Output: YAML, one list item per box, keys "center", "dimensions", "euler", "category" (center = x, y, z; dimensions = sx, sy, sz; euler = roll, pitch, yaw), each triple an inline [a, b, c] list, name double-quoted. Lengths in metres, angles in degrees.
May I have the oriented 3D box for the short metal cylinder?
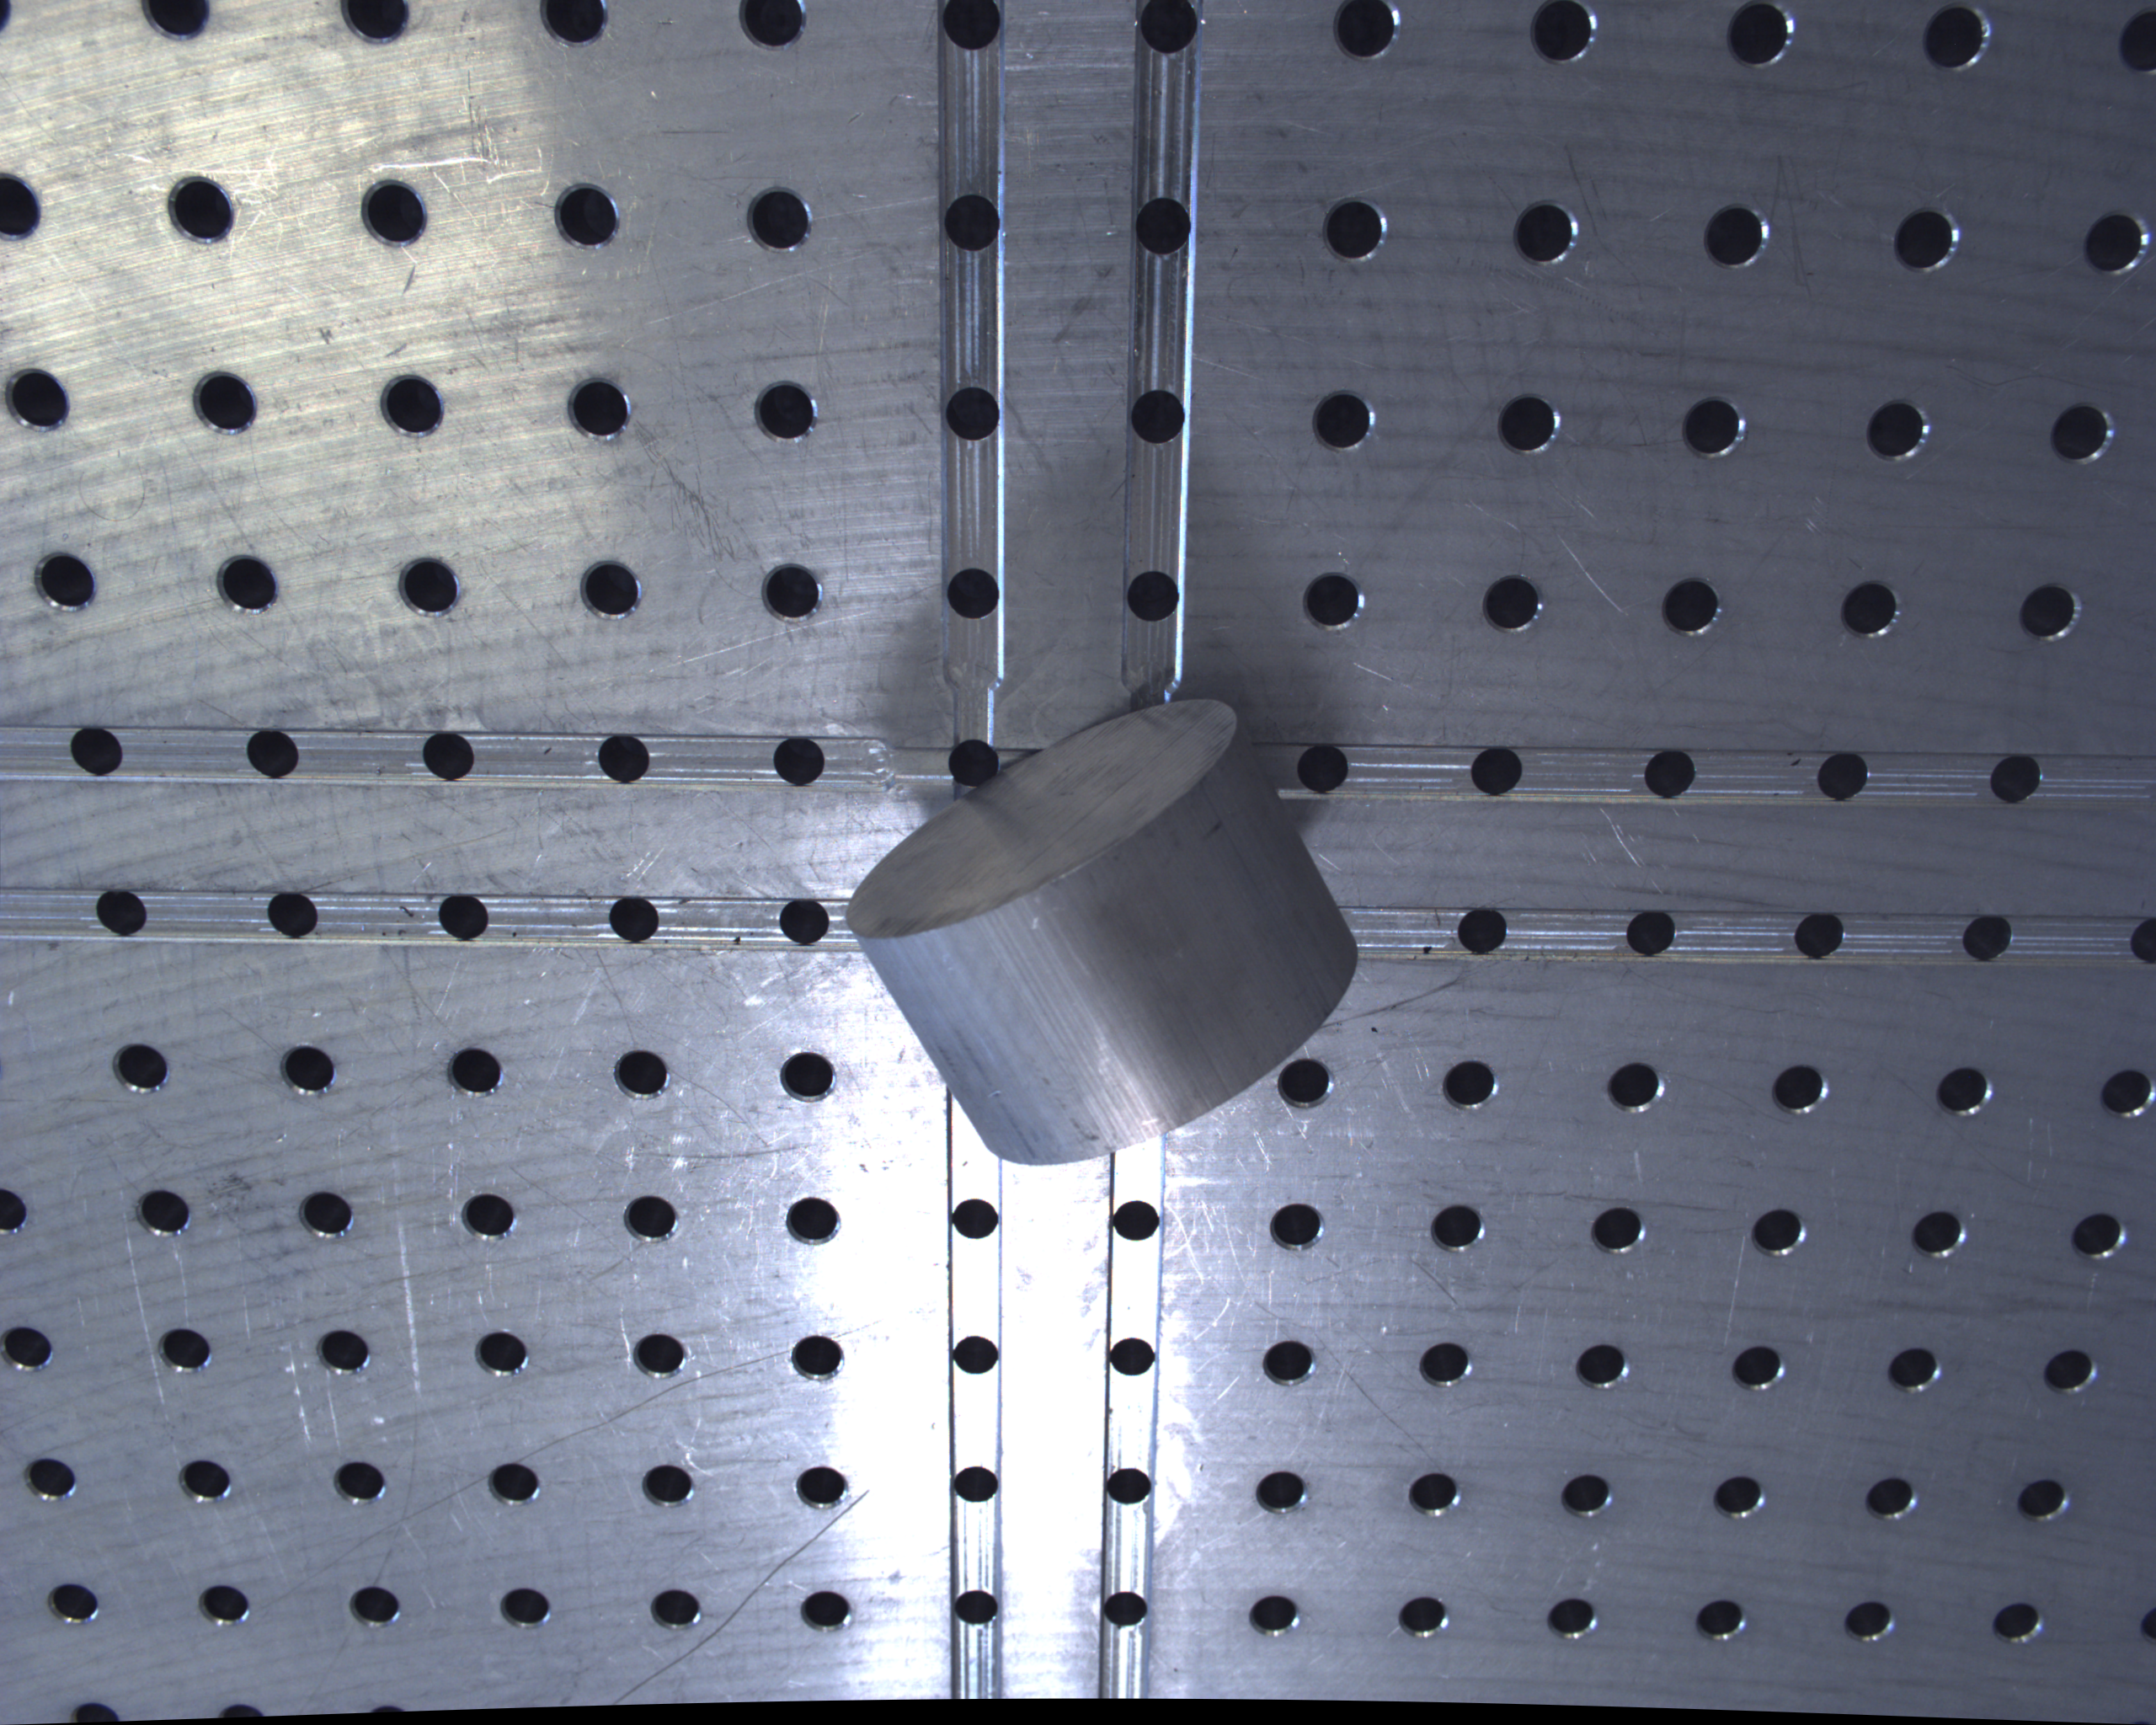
- center: [0.004, 0.012, 0.388]
  dimensions: [0.080, 0.080, 0.050]
  euler: [-27, 107, 9]
  category: "short metal cylinder"
